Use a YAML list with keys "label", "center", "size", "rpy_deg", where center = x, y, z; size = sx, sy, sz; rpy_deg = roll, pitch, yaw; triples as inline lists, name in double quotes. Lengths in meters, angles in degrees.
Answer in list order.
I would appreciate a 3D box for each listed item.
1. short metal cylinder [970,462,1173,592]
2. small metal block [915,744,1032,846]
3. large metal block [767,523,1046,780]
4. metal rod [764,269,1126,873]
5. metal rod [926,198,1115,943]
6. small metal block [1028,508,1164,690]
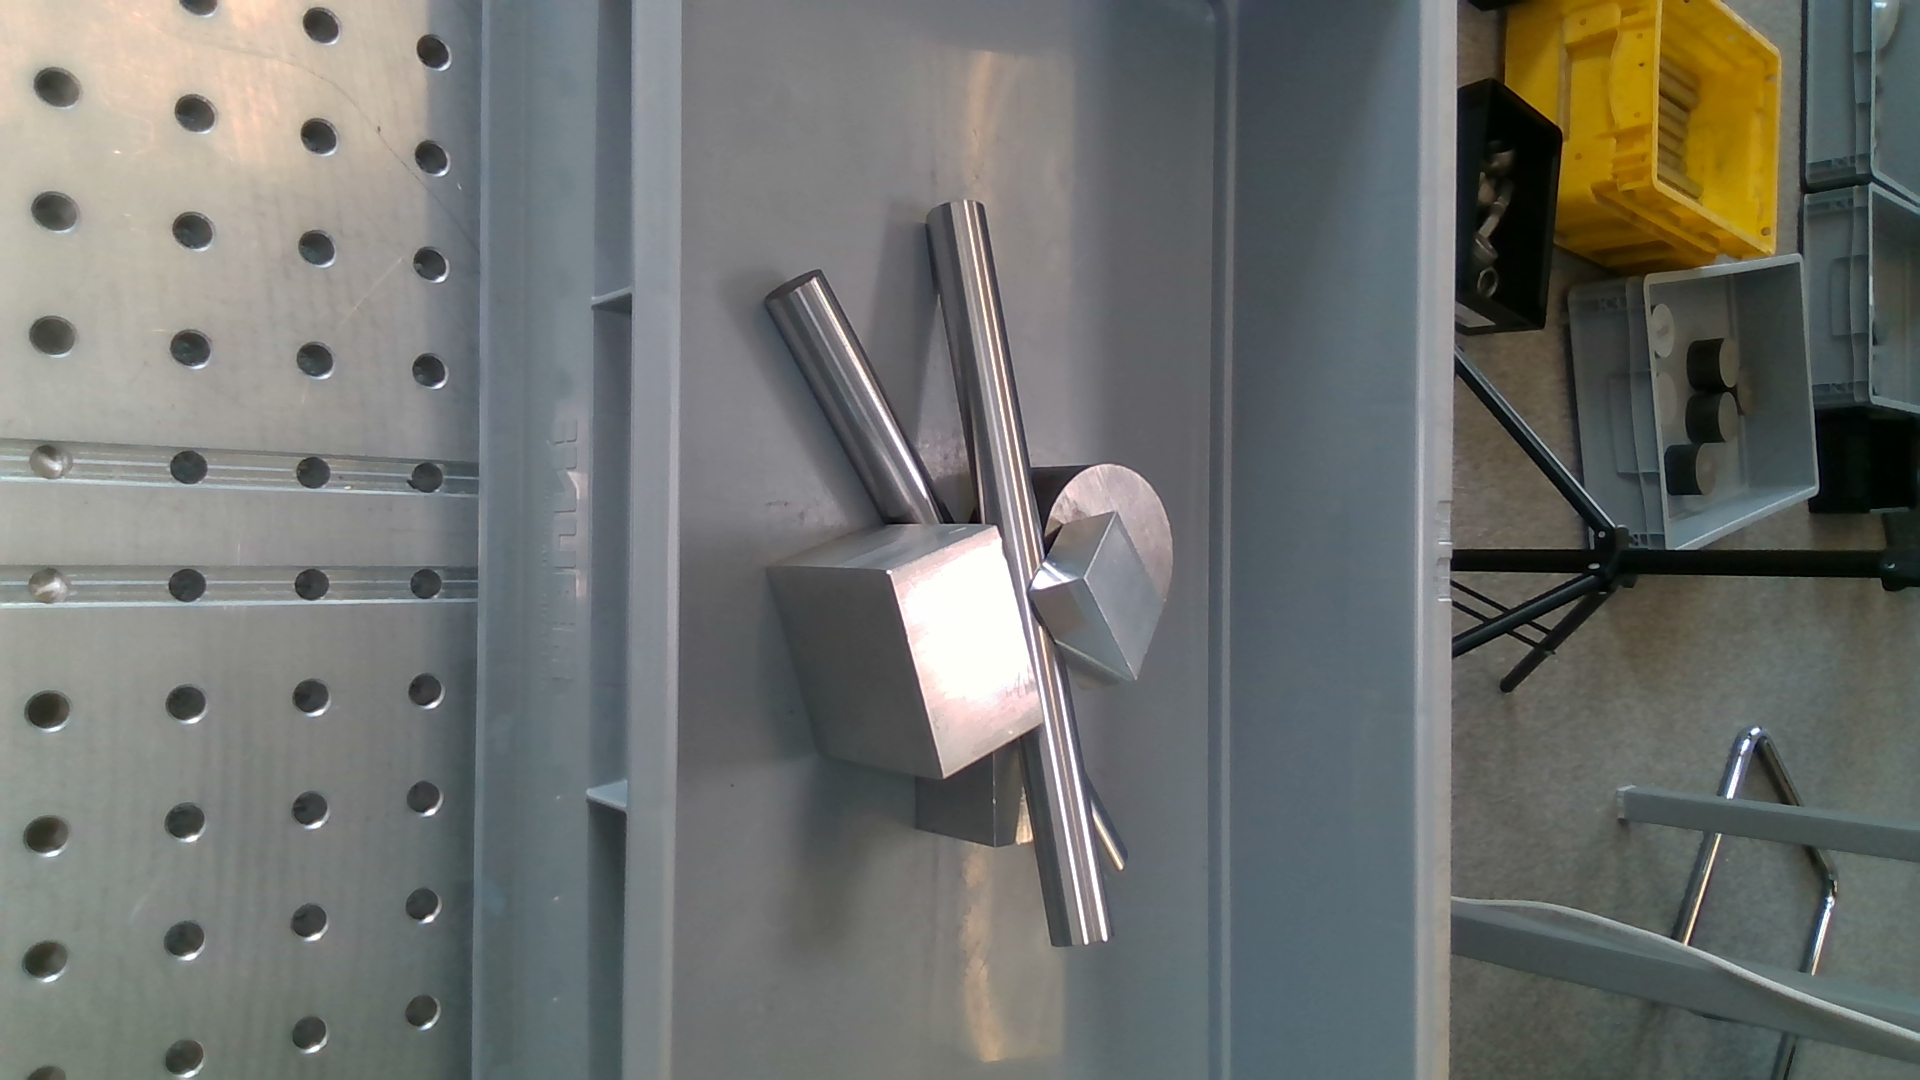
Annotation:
- label: "short metal cylinder"
  center: [0.049, 0.007, 0.607]
  size: [0.080, 0.050, 0.080]
  rpy_deg: [0, 90, -41]
- label: "small metal block"
  center: [0.007, 0.097, 0.572]
  size: [0.025, 0.050, 0.050]
  rpy_deg: [0, 89, -40]
- label: "large metal block"
  center: [-0.021, 0.040, 0.527]
  size: [0.050, 0.080, 0.080]
  rpy_deg: [-24, 105, -38]
- label: "metal rod"
  center: [0.000, 0.025, 0.584]
  size: [0.025, 0.025, 0.301]
  rpy_deg: [-42, 116, -32]
- label: "metal rod"
  center: [0.023, 0.007, 0.555]
  size: [0.025, 0.025, 0.300]
  rpy_deg: [-2, 78, -40]
- label: "small metal block"
  center: [0.056, 0.023, 0.553]
  size: [0.050, 0.025, 0.050]
  rpy_deg: [61, 33, -22]
